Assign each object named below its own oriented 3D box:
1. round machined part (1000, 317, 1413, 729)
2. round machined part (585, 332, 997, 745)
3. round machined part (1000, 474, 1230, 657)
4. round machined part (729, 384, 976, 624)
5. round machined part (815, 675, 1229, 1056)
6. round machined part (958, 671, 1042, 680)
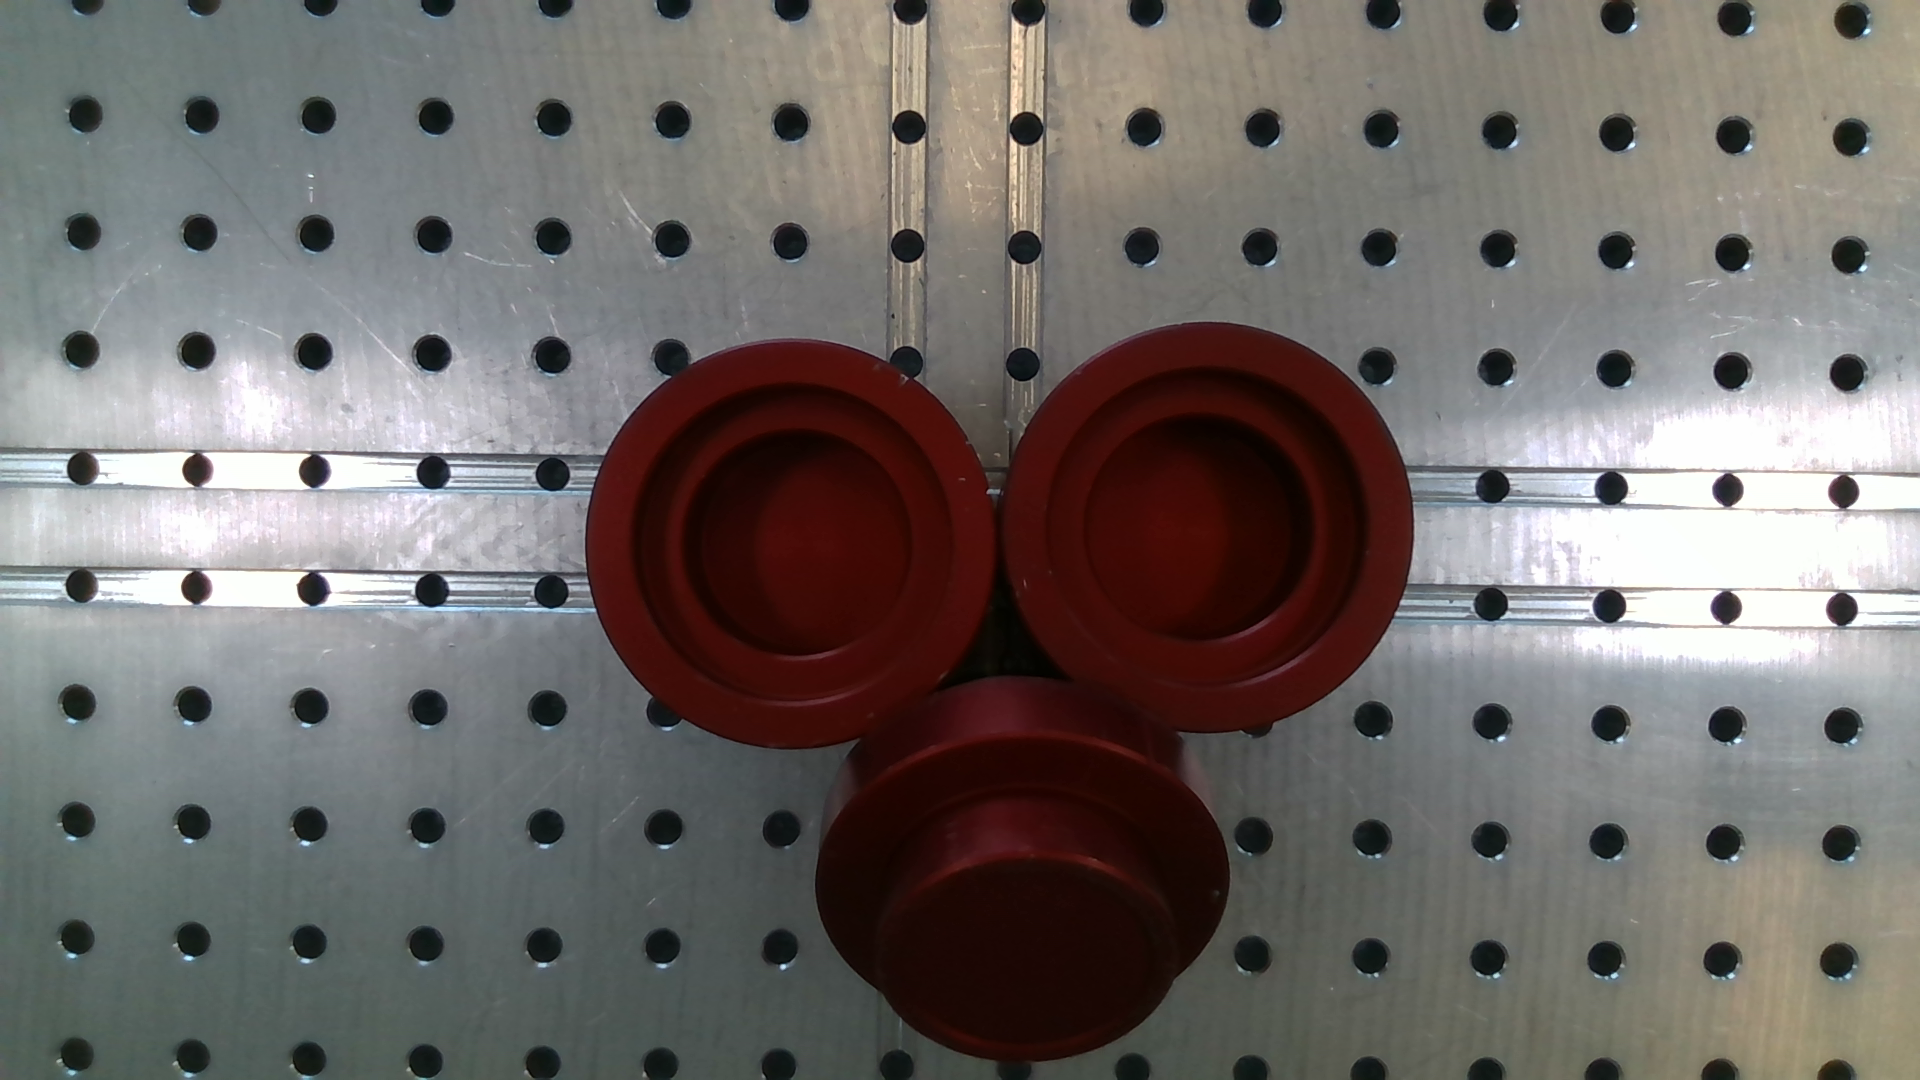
[{"bbox_3d":[0.059,-0.004,0.347,0.098,0.042,0.098,0,90,0],"label":"round machined part"},{"bbox_3d":[-0.040,0.000,0.346,0.098,0.042,0.098,0,90,0],"label":"round machined part"},{"bbox_3d":[0.059,-0.002,0.390,0.098,0.042,0.098,0,90,0],"label":"round machined part"},{"bbox_3d":[-0.040,-0.001,0.390,0.098,0.042,0.098,0,90,0],"label":"round machined part"},{"bbox_3d":[0.015,0.083,0.326,0.098,0.042,0.098,0,122,-1],"label":"round machined part"},{"bbox_3d":[0.015,0.087,0.390,0.098,0.042,0.098,0,90,0],"label":"round machined part"}]
